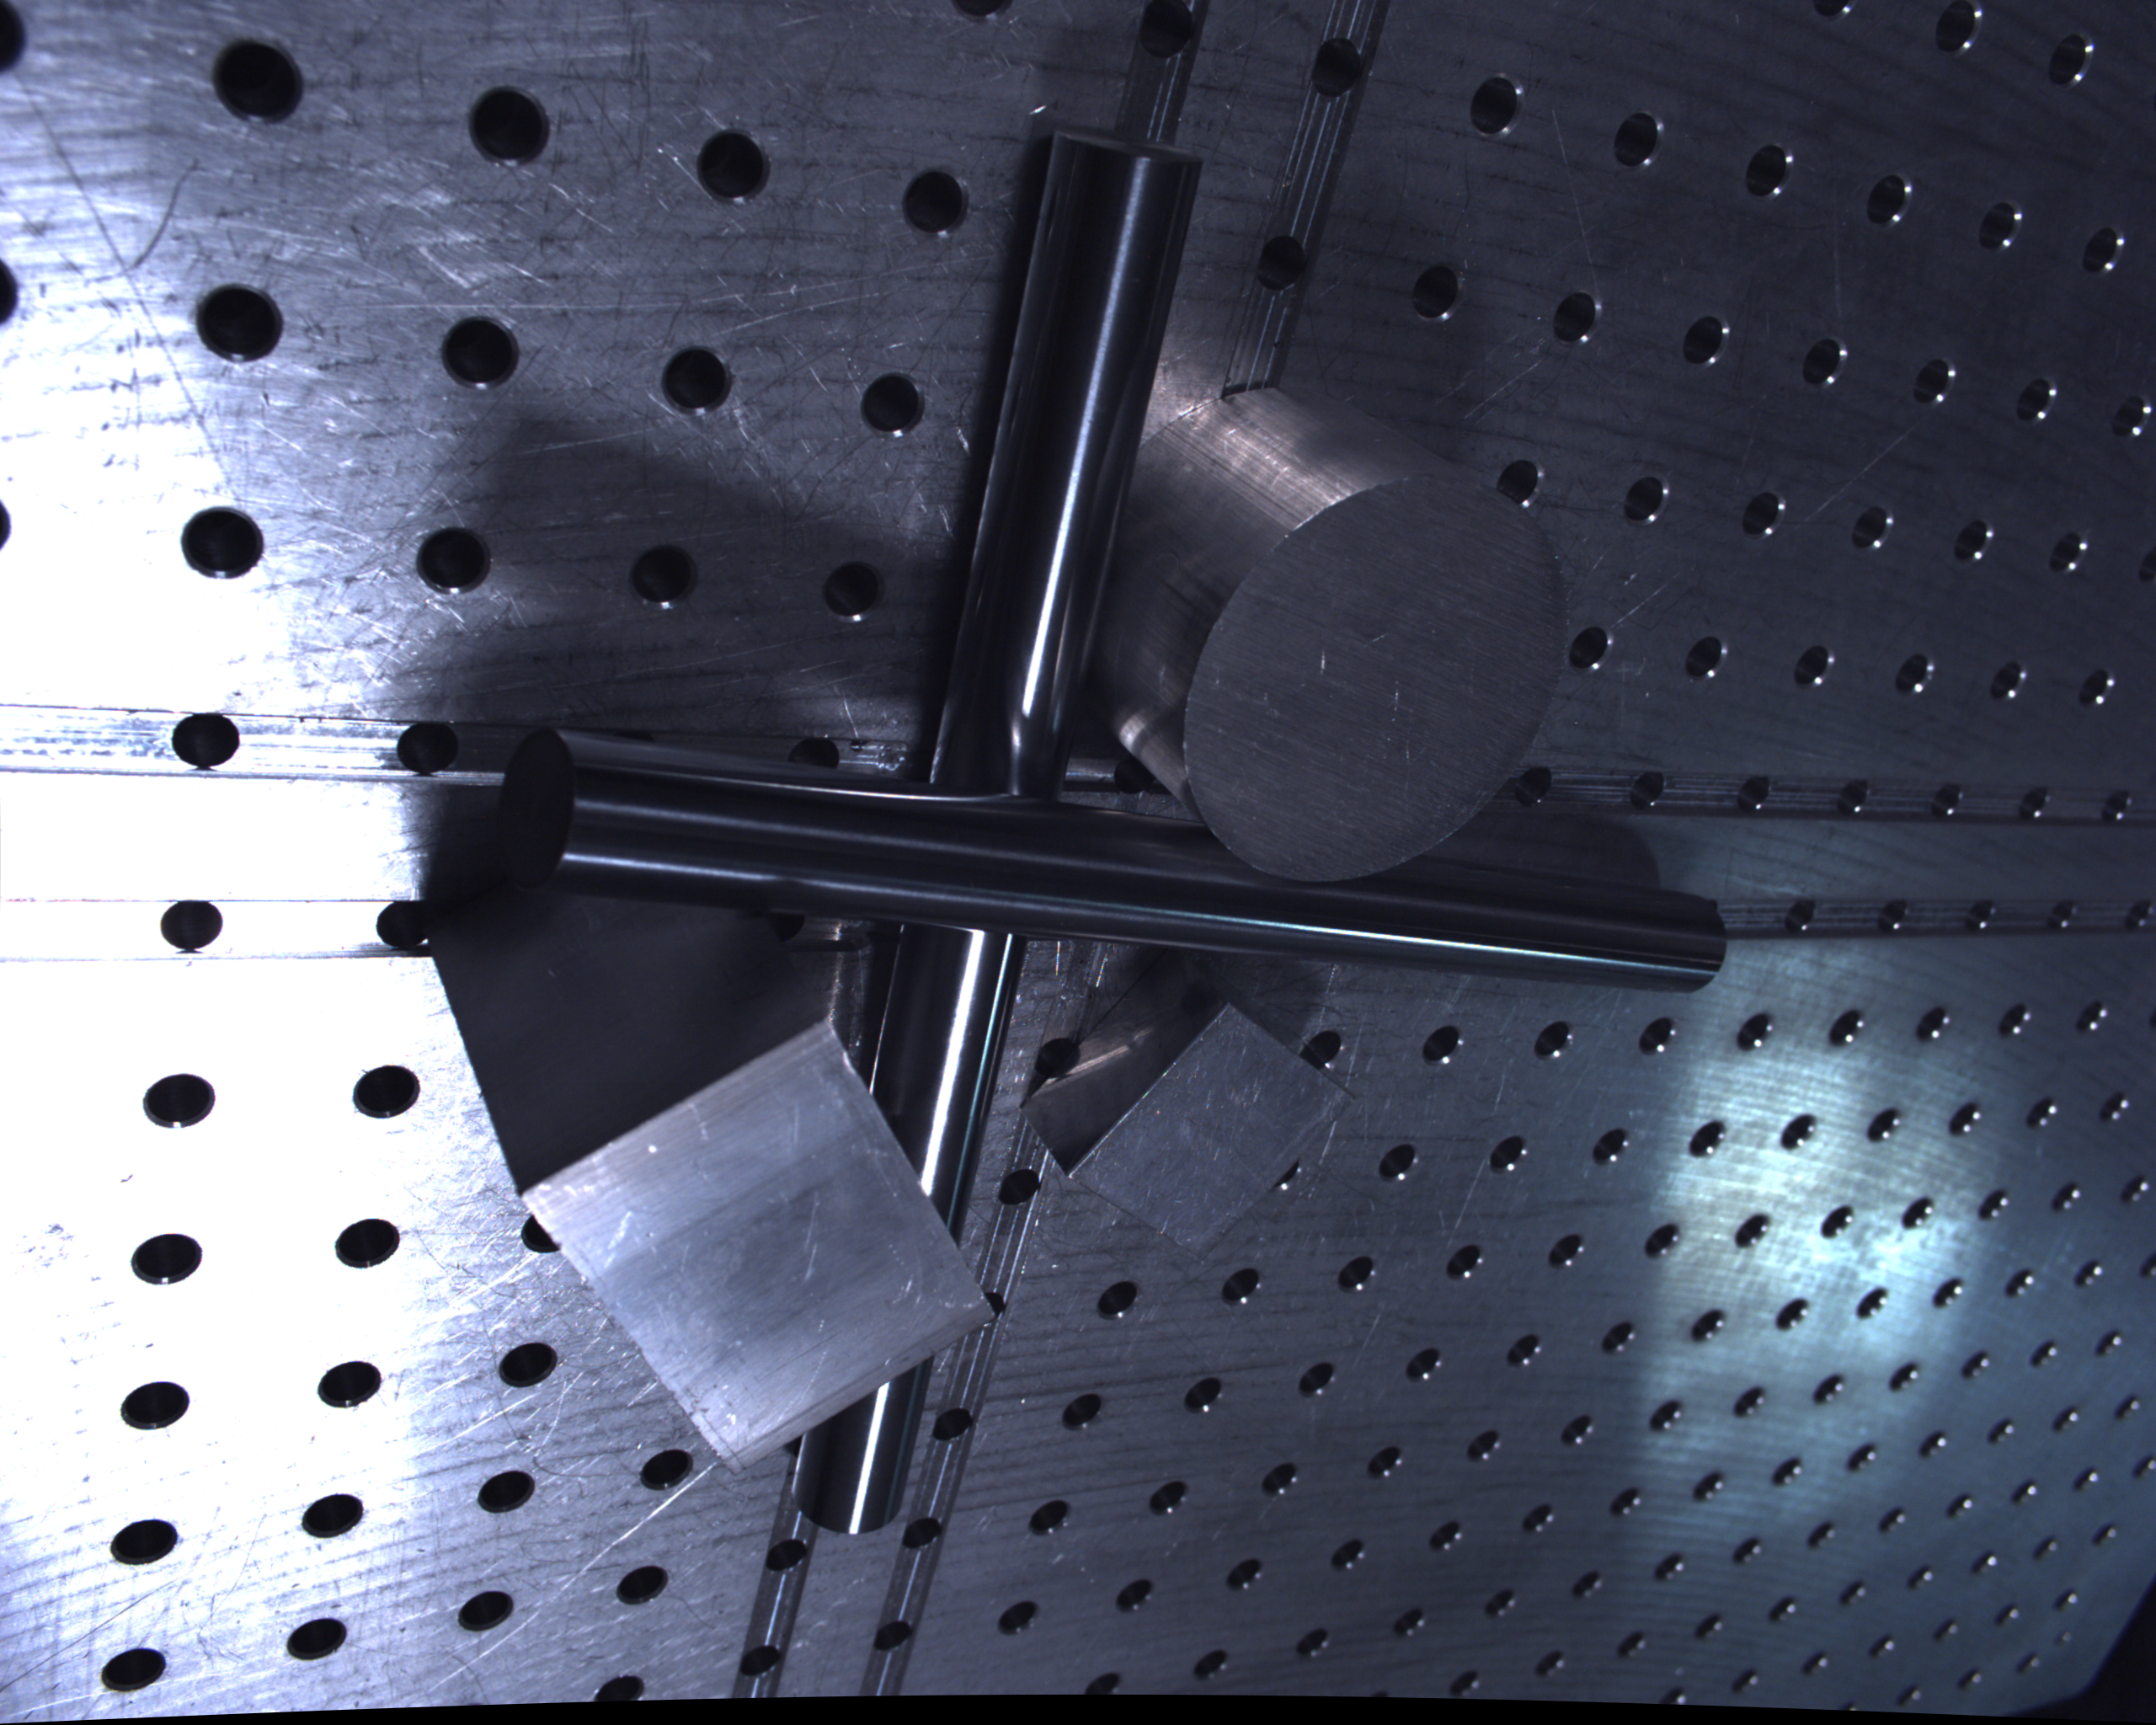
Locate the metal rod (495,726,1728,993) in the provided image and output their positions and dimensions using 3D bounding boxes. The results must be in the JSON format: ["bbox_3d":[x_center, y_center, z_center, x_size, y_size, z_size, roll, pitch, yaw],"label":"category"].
[{"bbox_3d":[0.033,0.006,0.410,0.302,0.025,0.025,7,115,-40],"label":"metal rod"}]

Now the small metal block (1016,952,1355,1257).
[{"bbox_3d":[0.024,0.052,0.460,0.050,0.025,0.050,-48,129,5],"label":"small metal block"}]

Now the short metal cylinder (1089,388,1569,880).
[{"bbox_3d":[0.044,-0.043,0.394,0.081,0.050,0.079,-14,125,-21],"label":"short metal cylinder"}]

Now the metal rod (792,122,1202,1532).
[{"bbox_3d":[-0.022,0.012,0.408,0.025,0.025,0.298,-2,119,-28],"label":"metal rod"}]

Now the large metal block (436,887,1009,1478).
[{"bbox_3d":[-0.063,0.046,0.369,0.050,0.080,0.080,-31,129,-9],"label":"large metal block"}]
